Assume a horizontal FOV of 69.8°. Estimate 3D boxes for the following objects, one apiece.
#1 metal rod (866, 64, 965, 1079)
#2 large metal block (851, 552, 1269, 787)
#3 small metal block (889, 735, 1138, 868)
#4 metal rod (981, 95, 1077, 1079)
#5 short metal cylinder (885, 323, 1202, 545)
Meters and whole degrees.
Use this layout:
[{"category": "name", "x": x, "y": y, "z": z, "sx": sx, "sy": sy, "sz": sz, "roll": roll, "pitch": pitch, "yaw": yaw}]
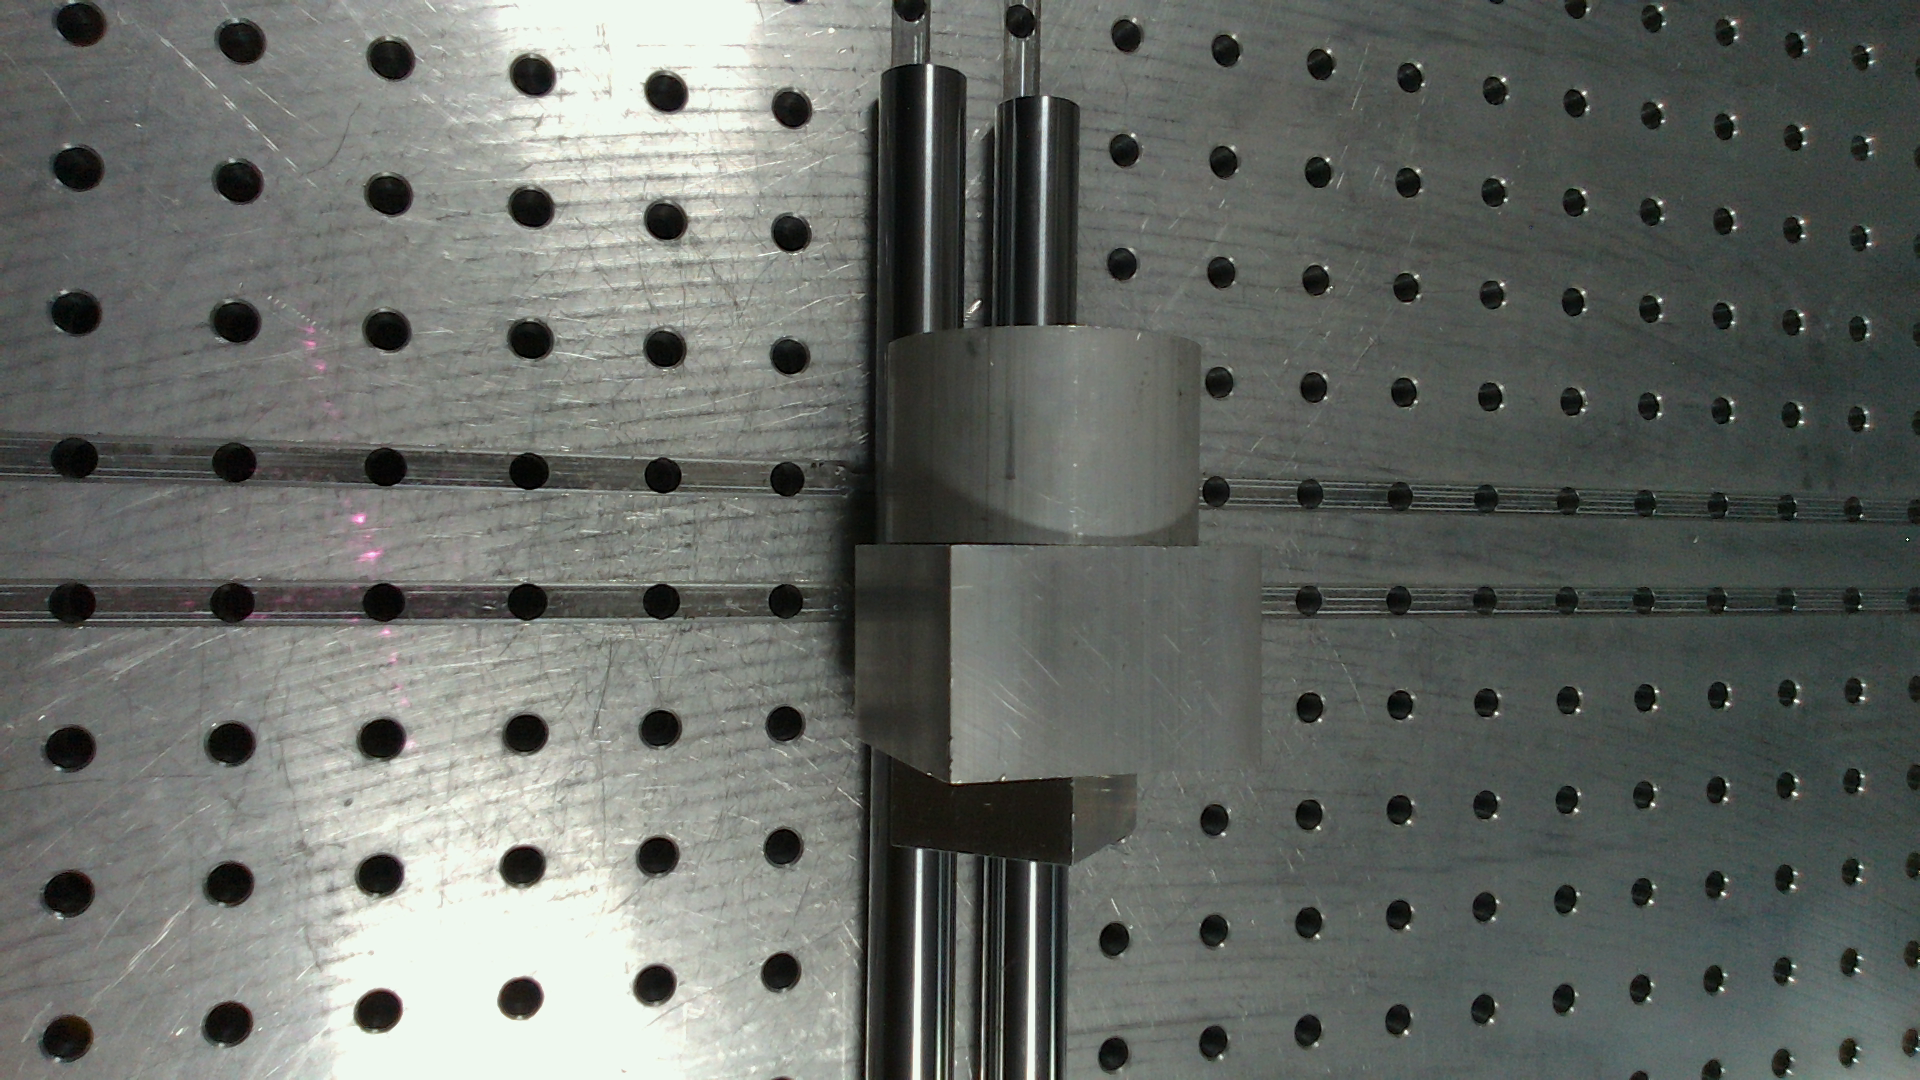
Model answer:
[{"category": "metal rod", "x": -0.013, "y": 0.018, "z": 0.393, "sx": 0.025, "sy": 0.025, "sz": 0.300, "roll": 1, "pitch": 90, "yaw": -20}, {"category": "large metal block", "x": 0.022, "y": 0.029, "z": 0.348, "sx": 0.080, "sy": 0.080, "sz": 0.050, "roll": 0, "pitch": 90, "yaw": -20}, {"category": "small metal block", "x": 0.015, "y": 0.066, "z": 0.364, "sx": 0.050, "sy": 0.050, "sz": 0.025, "roll": 1, "pitch": 90, "yaw": -65}, {"category": "metal rod", "x": 0.020, "y": 0.023, "z": 0.405, "sx": 0.025, "sy": 0.025, "sz": 0.300, "roll": 1, "pitch": 90, "yaw": -20}, {"category": "short metal cylinder", "x": 0.021, "y": -0.024, "z": 0.352, "sx": 0.080, "sy": 0.080, "sz": 0.050, "roll": 1, "pitch": 90, "yaw": -20}]
